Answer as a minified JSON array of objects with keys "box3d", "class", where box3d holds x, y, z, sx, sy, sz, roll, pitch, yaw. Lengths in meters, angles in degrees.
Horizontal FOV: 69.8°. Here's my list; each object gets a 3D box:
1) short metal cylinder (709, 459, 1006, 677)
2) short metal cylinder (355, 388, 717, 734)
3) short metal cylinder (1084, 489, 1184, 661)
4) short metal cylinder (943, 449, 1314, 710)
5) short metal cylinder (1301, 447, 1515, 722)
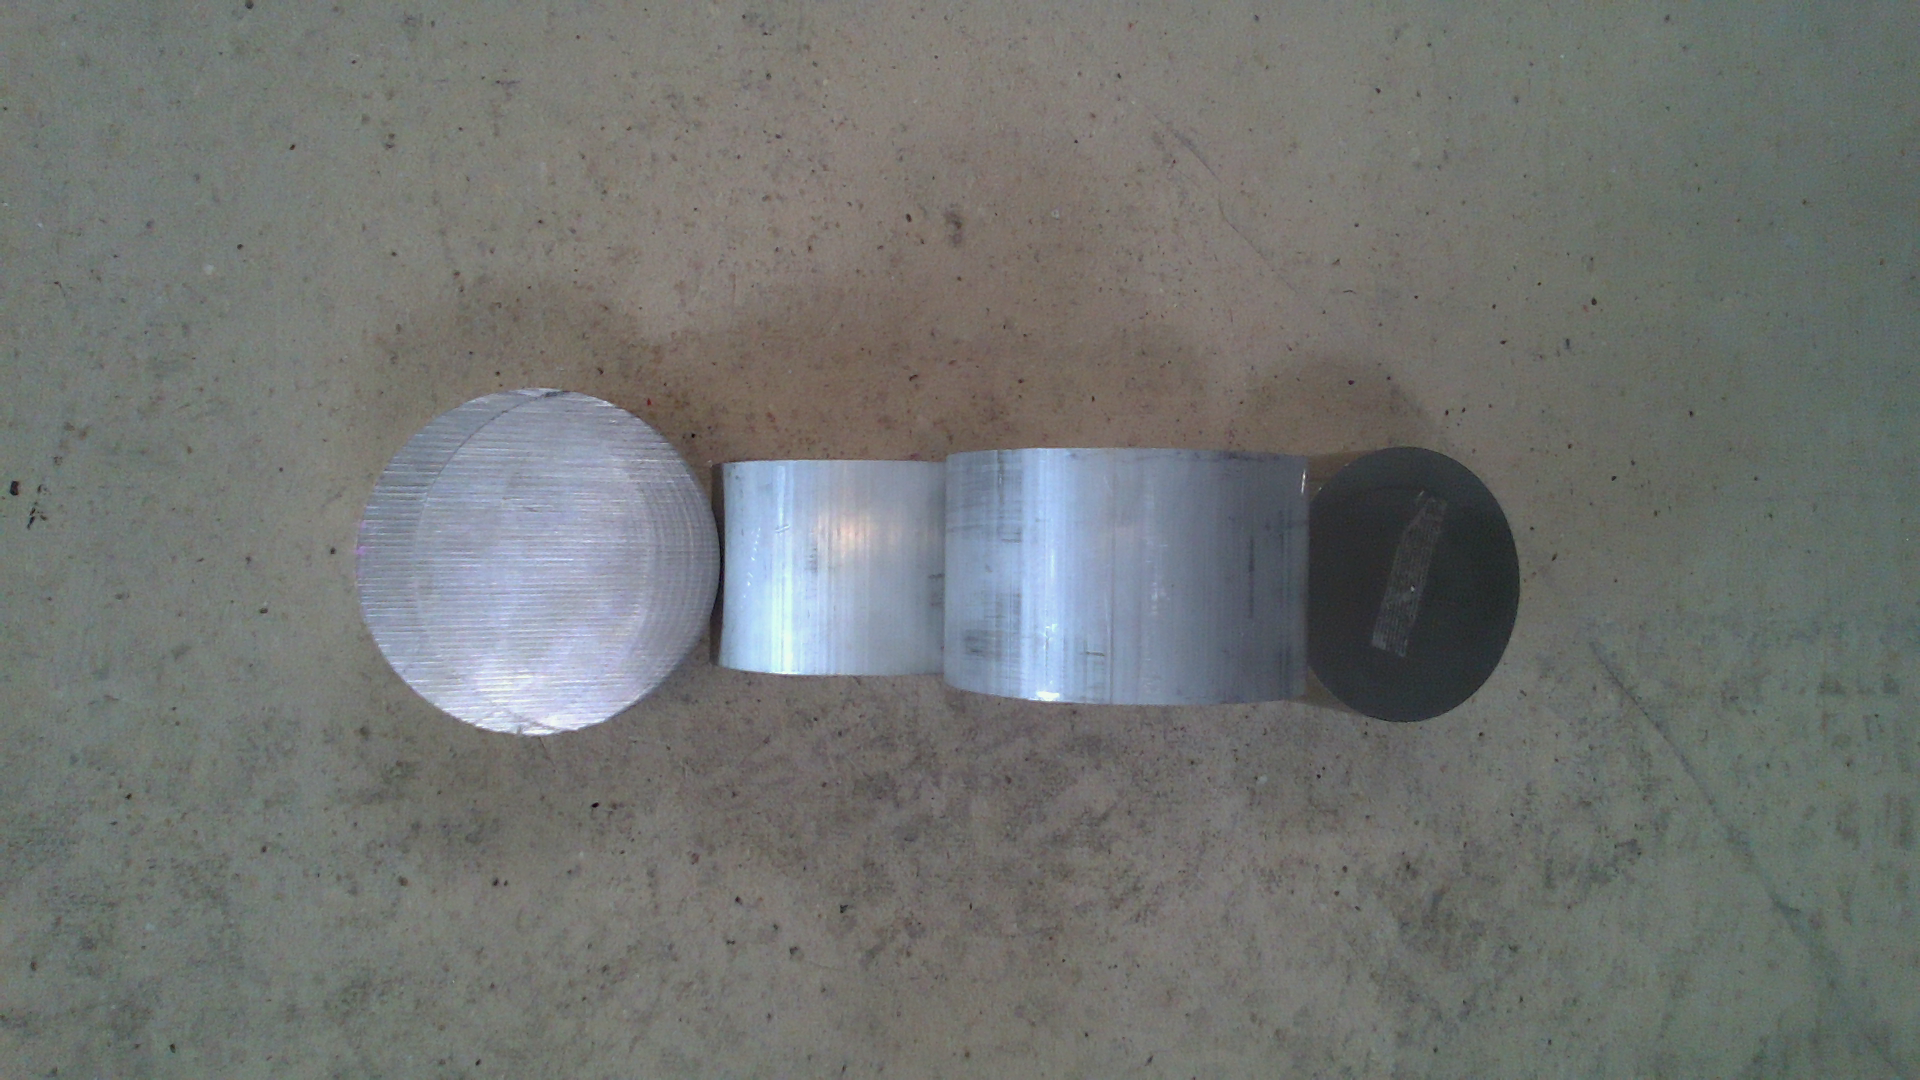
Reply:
[{"box3d":[-0.024,0.006,0.356,0.080,0.080,0.050,0,90,-20],"class":"short metal cylinder"},{"box3d":[-0.105,0.005,0.342,0.080,0.050,0.080,0,90,-20],"class":"short metal cylinder"},{"box3d":[0.051,0.007,0.383,0.080,0.080,0.050,0,89,-20],"class":"short metal cylinder"},{"box3d":[0.037,0.007,0.304,0.080,0.080,0.050,1,91,-20],"class":"short metal cylinder"},{"box3d":[0.121,0.013,0.424,0.080,0.050,0.080,0,91,-20],"class":"short metal cylinder"}]
